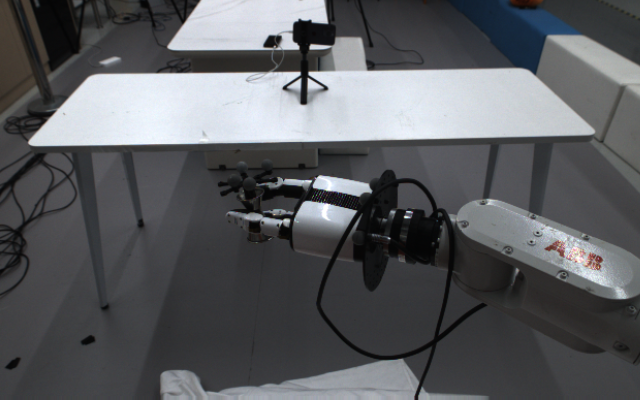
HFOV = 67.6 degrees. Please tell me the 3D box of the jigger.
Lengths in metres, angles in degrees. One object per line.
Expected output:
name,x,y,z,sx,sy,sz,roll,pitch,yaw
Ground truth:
jigger,-0.088,0.019,0.688,0.043,0.071,0.043,-10,24,5
